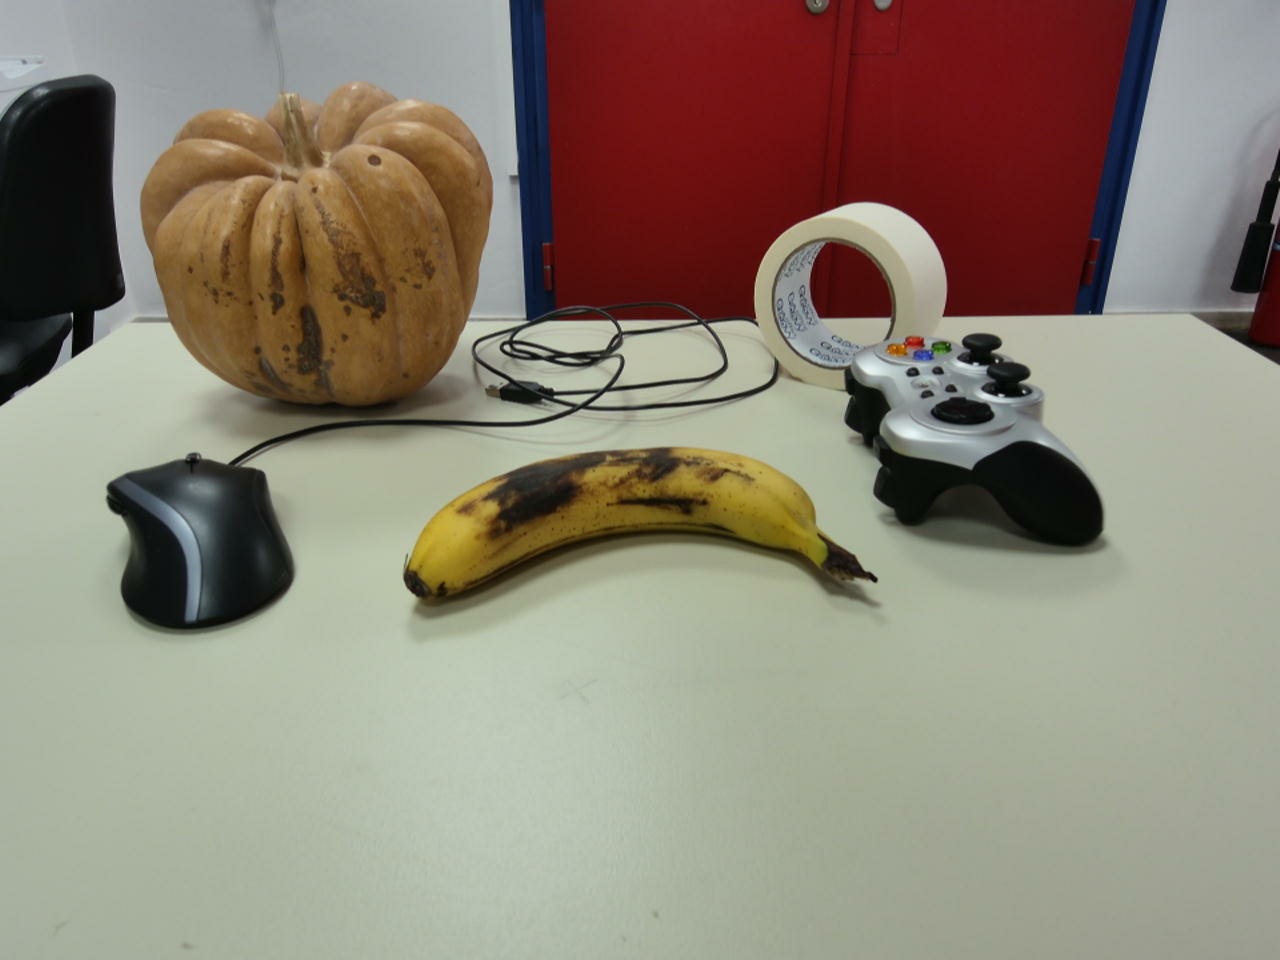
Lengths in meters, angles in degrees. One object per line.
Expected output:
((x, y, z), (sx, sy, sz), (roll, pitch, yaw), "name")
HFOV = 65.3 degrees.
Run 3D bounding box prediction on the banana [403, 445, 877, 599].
((-0.003, 0.016, 0.434), (0.187, 0.039, 0.094), (-1, 24, -2), "banana")
